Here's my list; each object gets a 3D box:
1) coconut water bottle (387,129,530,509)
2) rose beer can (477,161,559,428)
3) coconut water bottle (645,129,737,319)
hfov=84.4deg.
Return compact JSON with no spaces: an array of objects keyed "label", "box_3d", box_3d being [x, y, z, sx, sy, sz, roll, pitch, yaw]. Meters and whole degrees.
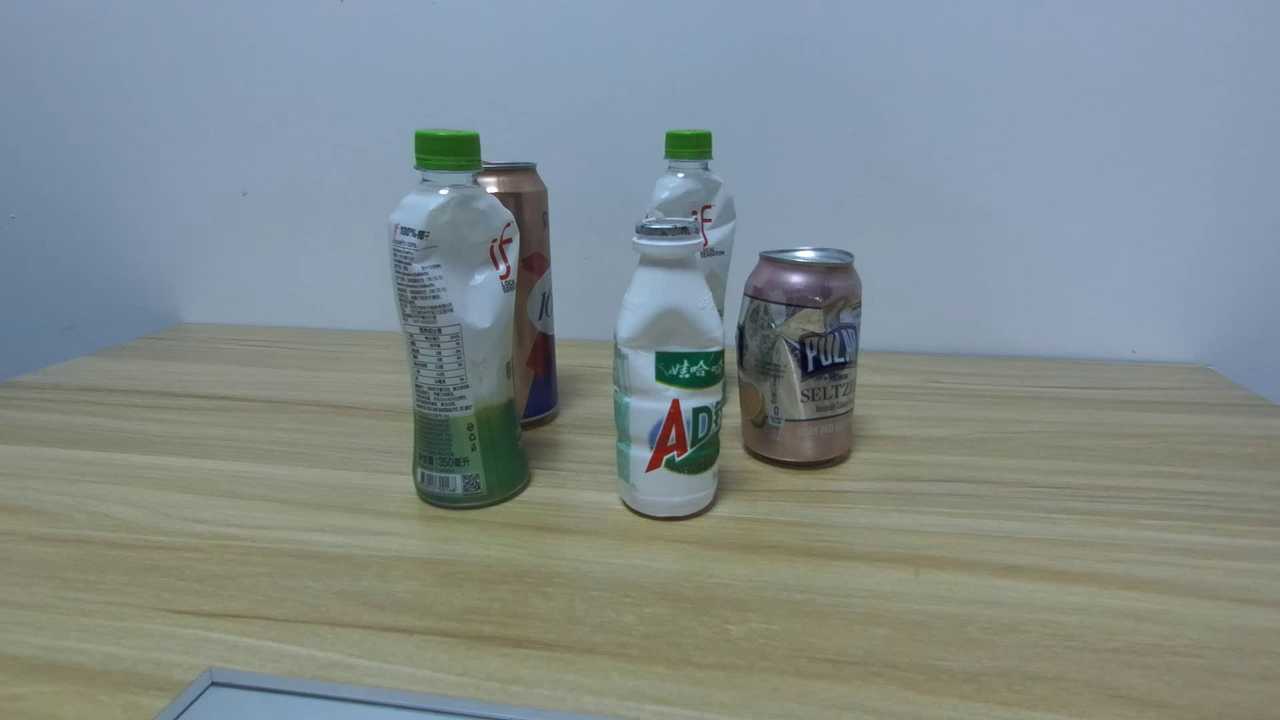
[{"label":"coconut water bottle","box_3d":[-0.093,-0.021,0.368,0.069,0.187,0.069,1,16,0]},{"label":"rose beer can","box_3d":[-0.092,-0.041,0.475,0.068,0.169,0.068,-1,12,1]},{"label":"coconut water bottle","box_3d":[0.032,-0.059,0.488,0.067,0.187,0.067,0,15,0]}]
